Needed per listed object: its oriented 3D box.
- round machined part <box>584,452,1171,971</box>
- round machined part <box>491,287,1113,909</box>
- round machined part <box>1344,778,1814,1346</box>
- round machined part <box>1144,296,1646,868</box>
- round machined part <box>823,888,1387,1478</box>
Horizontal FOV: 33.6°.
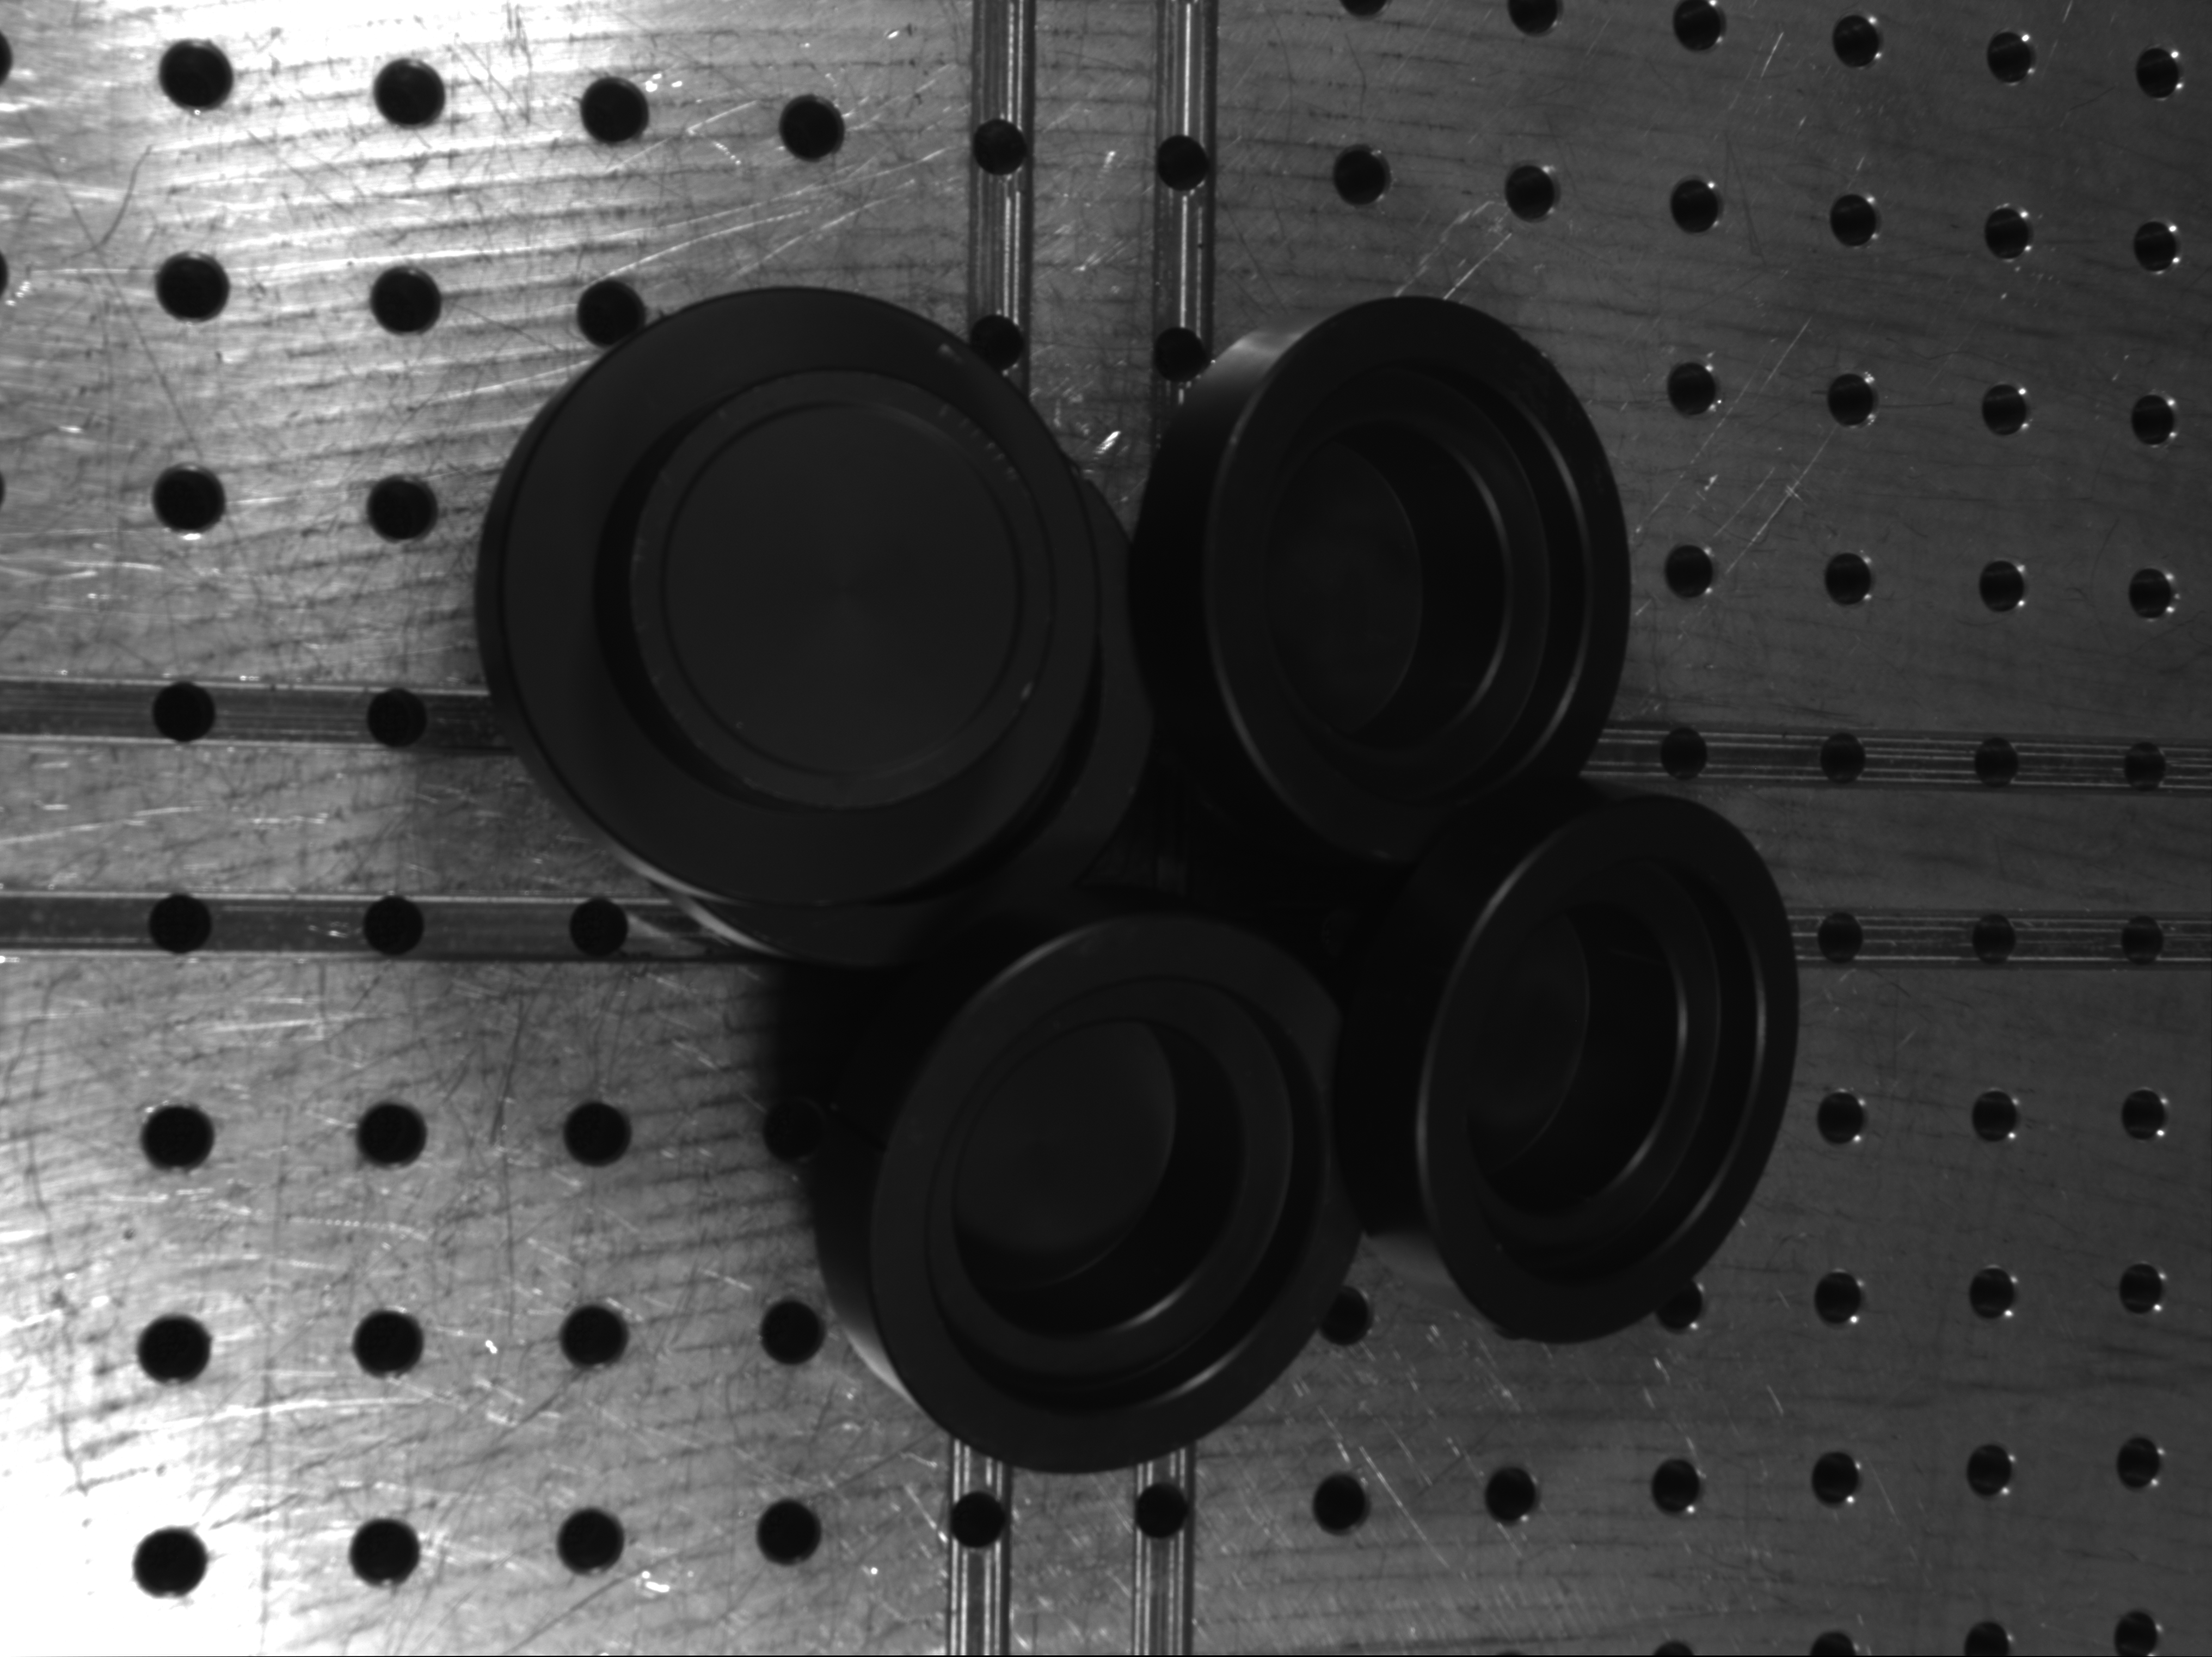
[{"bbox_3d":[-0.041,-0.026,0.621,0.098,0.042,0.098,0,90,-20],"label":"round machined part"},{"bbox_3d":[-0.044,-0.036,0.576,0.098,0.042,0.098,0,90,-20],"label":"round machined part"},{"bbox_3d":[0.079,0.039,0.653,0.098,0.042,0.098,-11,107,-39],"label":"round machined part"},{"bbox_3d":[0.045,-0.042,0.644,0.098,0.042,0.098,-1,91,-36],"label":"round machined part"},{"bbox_3d":[-0.004,0.057,0.626,0.098,0.042,0.098,-9,108,-28],"label":"round machined part"}]
